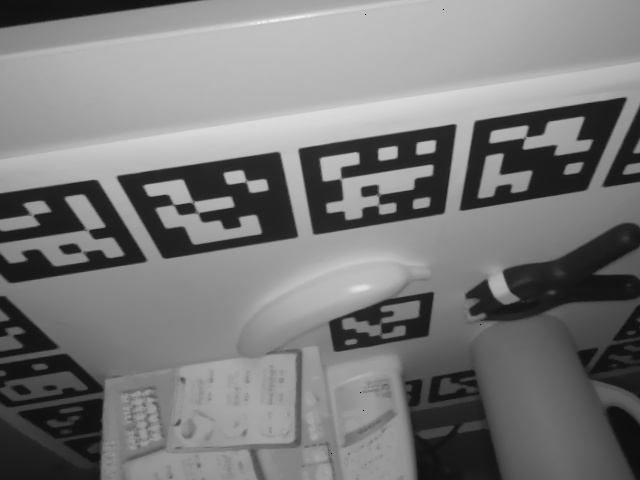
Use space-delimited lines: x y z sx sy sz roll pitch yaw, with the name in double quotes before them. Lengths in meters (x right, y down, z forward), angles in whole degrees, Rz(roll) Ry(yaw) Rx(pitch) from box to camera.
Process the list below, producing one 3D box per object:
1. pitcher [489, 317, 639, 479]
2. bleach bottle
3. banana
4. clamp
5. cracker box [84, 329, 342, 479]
"pitcher" 0.251 0.198 0.661 0.188 0.244 0.133 -15 145 12
"bleach bottle" 0.063 0.227 0.687 0.103 0.252 0.067 -6 145 -5
"banana" 0.002 0.028 0.589 0.195 0.039 0.075 -27 142 22
"clamp" 0.222 0.023 0.625 0.164 0.037 0.122 -15 146 10
"cracker box" -0.095 0.179 0.628 0.215 0.165 0.071 -7 147 -7
